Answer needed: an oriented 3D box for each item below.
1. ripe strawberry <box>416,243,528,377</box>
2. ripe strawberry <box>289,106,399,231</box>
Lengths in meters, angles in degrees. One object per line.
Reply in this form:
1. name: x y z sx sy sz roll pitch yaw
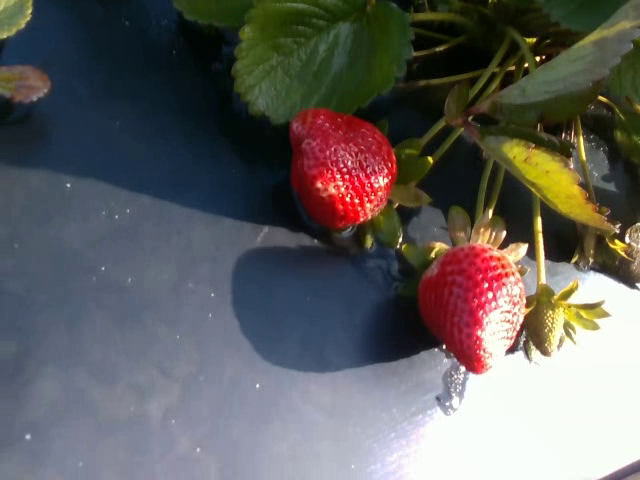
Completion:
1. ripe strawberry: 0.054 0.024 0.203 0.043 0.053 0.038 40 -58 -21
2. ripe strawberry: 0.007 -0.026 0.218 0.039 0.048 0.054 3 -7 39
